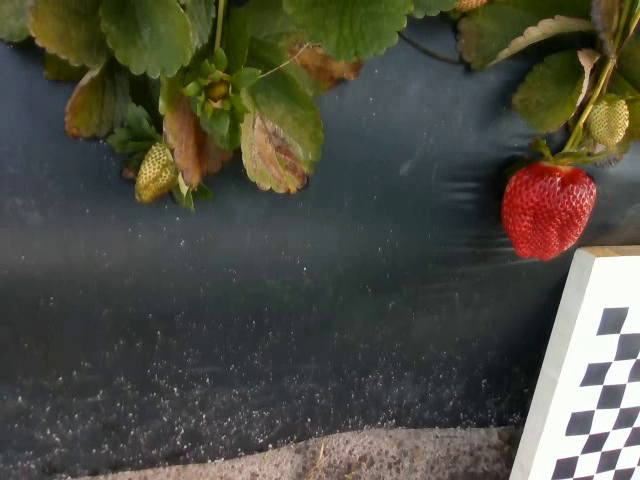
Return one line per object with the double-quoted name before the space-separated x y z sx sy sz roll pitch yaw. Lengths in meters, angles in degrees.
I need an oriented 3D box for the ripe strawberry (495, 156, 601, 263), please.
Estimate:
"ripe strawberry" 0.154 -0.019 0.411 0.067 0.075 0.039 5 19 -16
